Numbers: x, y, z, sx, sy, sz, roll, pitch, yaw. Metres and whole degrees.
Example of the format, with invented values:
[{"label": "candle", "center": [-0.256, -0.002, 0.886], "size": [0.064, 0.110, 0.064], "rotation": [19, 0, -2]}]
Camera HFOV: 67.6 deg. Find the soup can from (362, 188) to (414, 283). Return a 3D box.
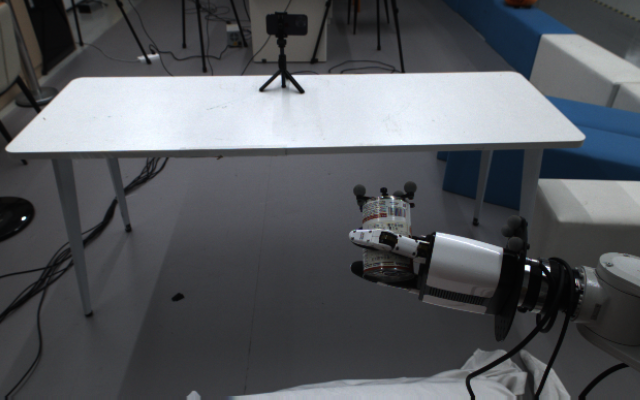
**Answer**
[{"label": "soup can", "center": [0.092, 0.054, 0.649], "size": [0.067, 0.067, 0.101], "rotation": [2, 69, -1]}]
